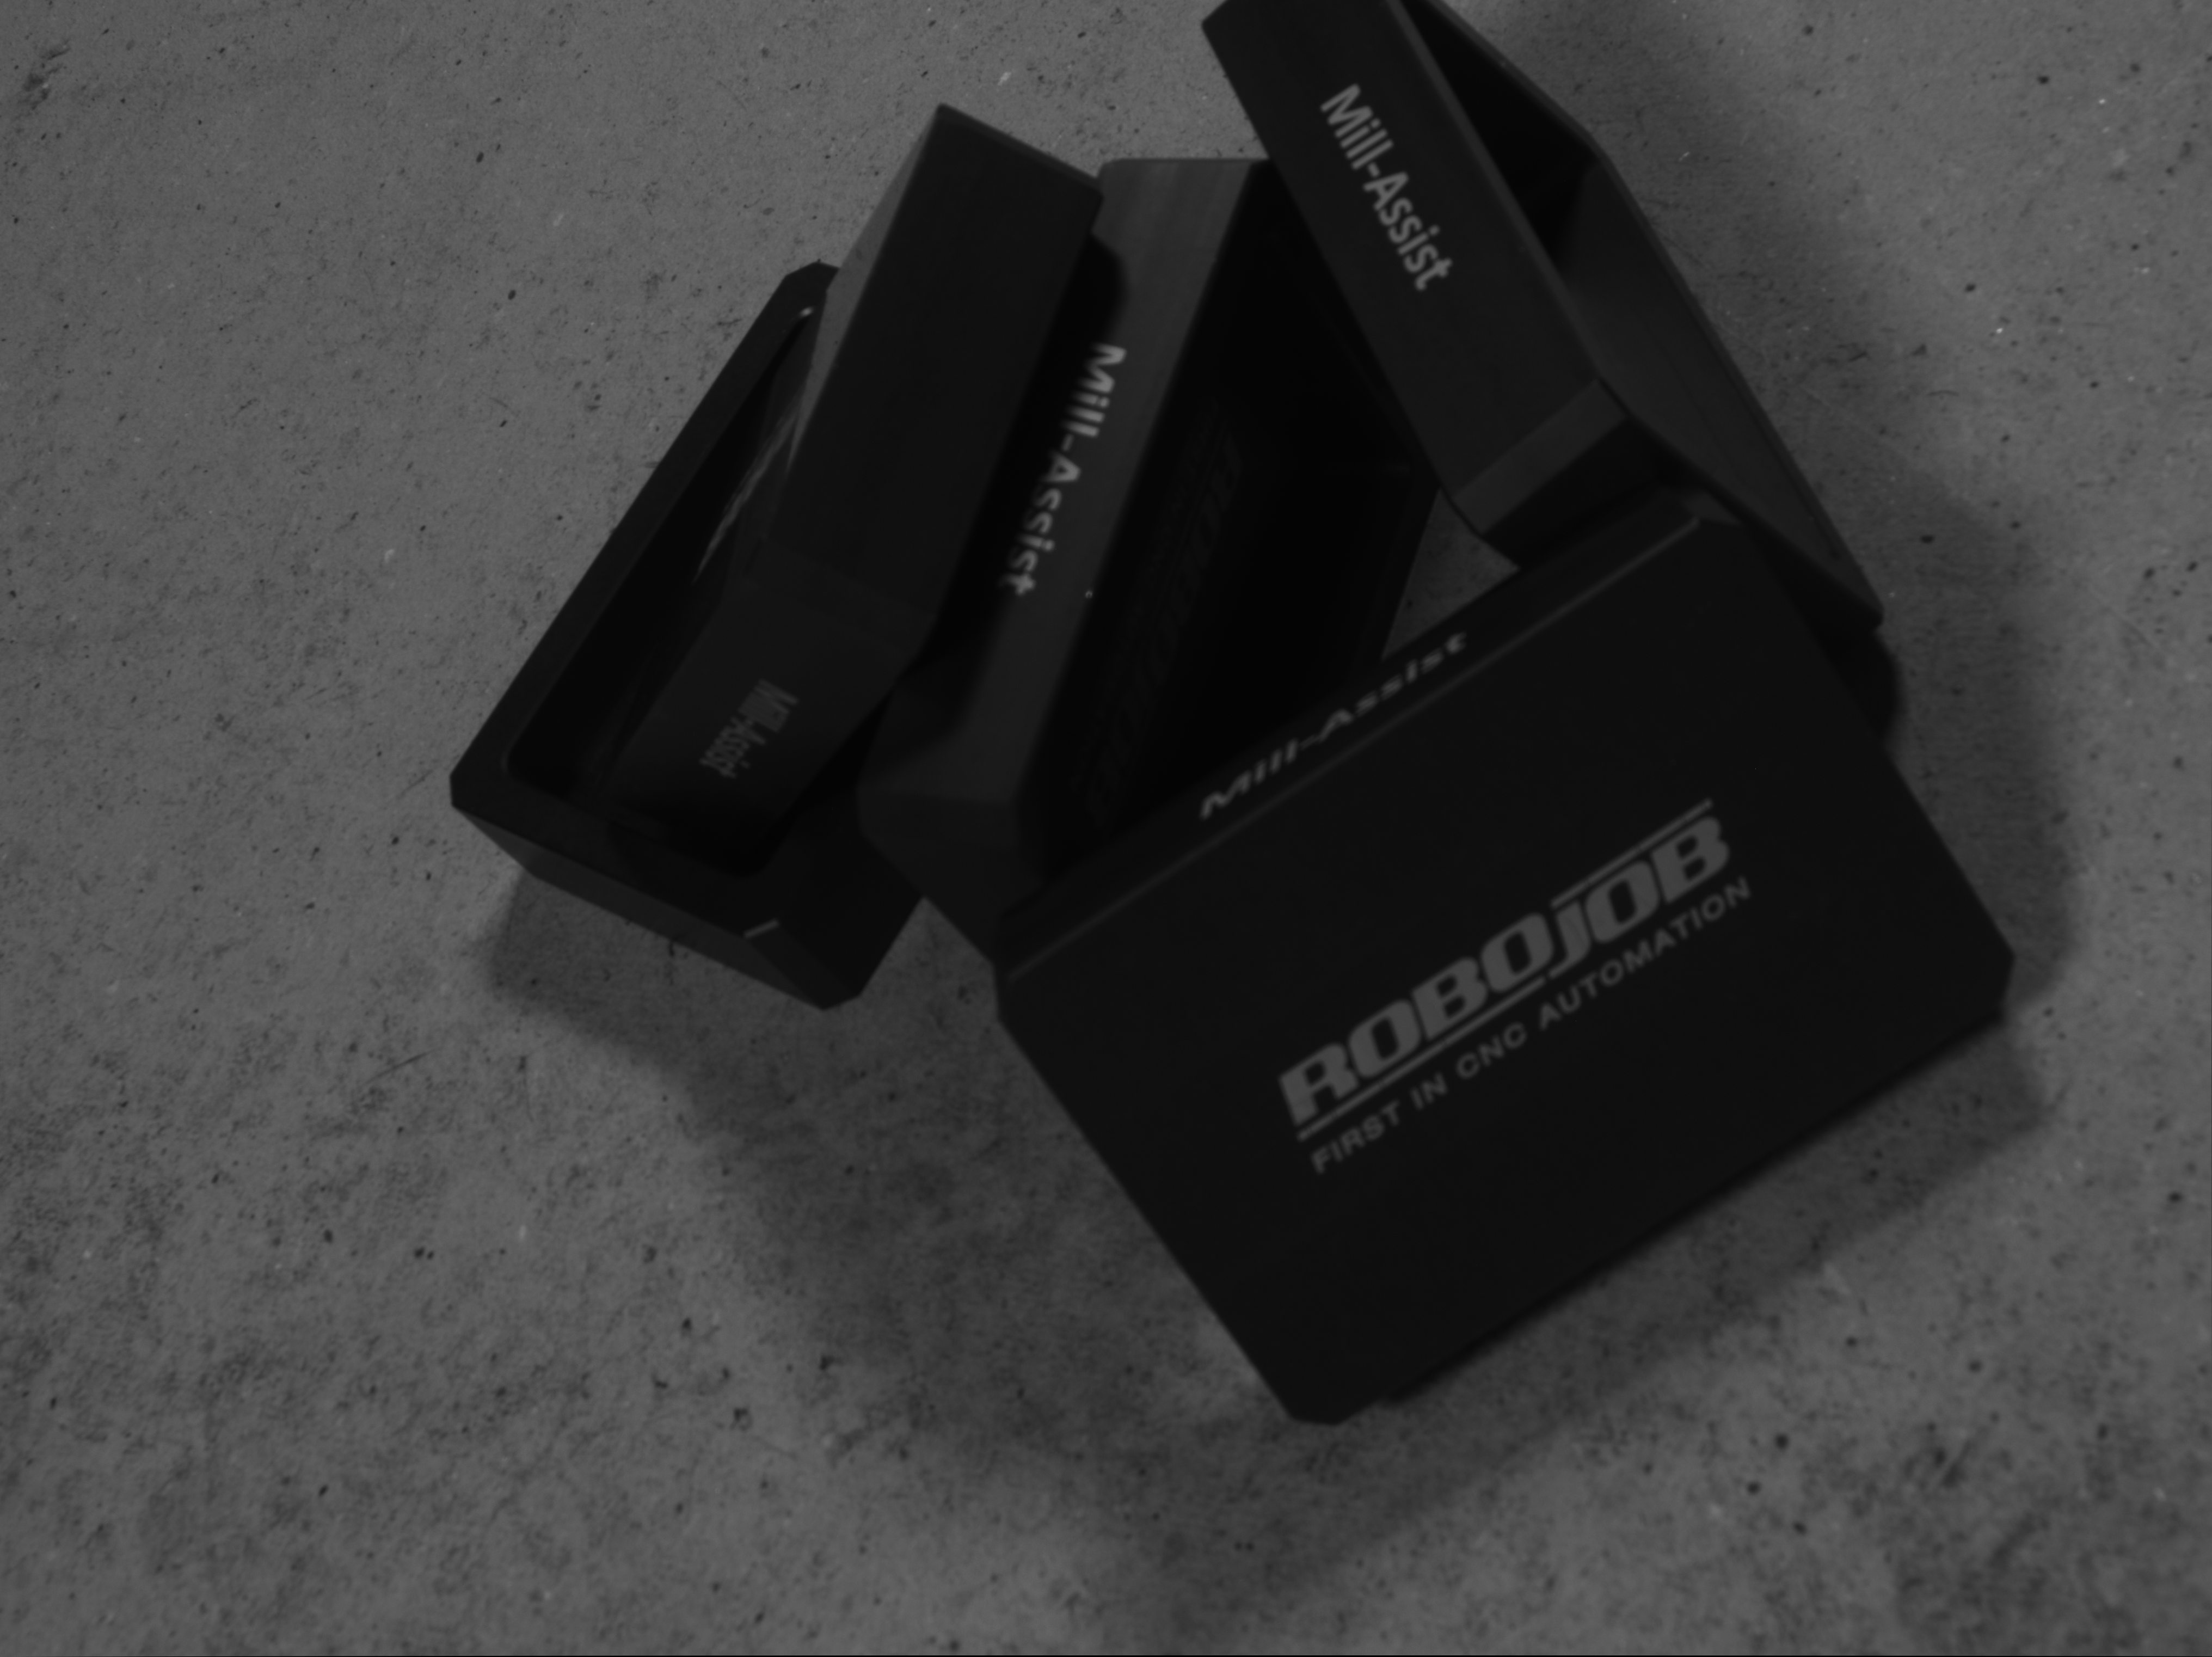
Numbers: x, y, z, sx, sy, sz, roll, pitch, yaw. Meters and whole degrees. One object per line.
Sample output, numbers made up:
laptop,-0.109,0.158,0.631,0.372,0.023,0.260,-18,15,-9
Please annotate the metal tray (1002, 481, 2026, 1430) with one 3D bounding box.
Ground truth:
metal tray,0.061,0.020,0.557,0.130,0.090,0.030,-34,16,6

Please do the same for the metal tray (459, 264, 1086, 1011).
metal tray,-0.053,-0.039,0.694,0.090,0.030,0.130,22,73,36

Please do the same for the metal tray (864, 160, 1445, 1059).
metal tray,0.013,-0.036,0.618,0.030,0.090,0.130,6,65,31

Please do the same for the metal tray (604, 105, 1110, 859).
metal tray,-0.045,-0.055,0.630,0.090,0.030,0.130,-70,12,-21

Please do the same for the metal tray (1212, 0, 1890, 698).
metal tray,0.074,-0.086,0.613,0.030,0.090,0.130,-39,49,21
